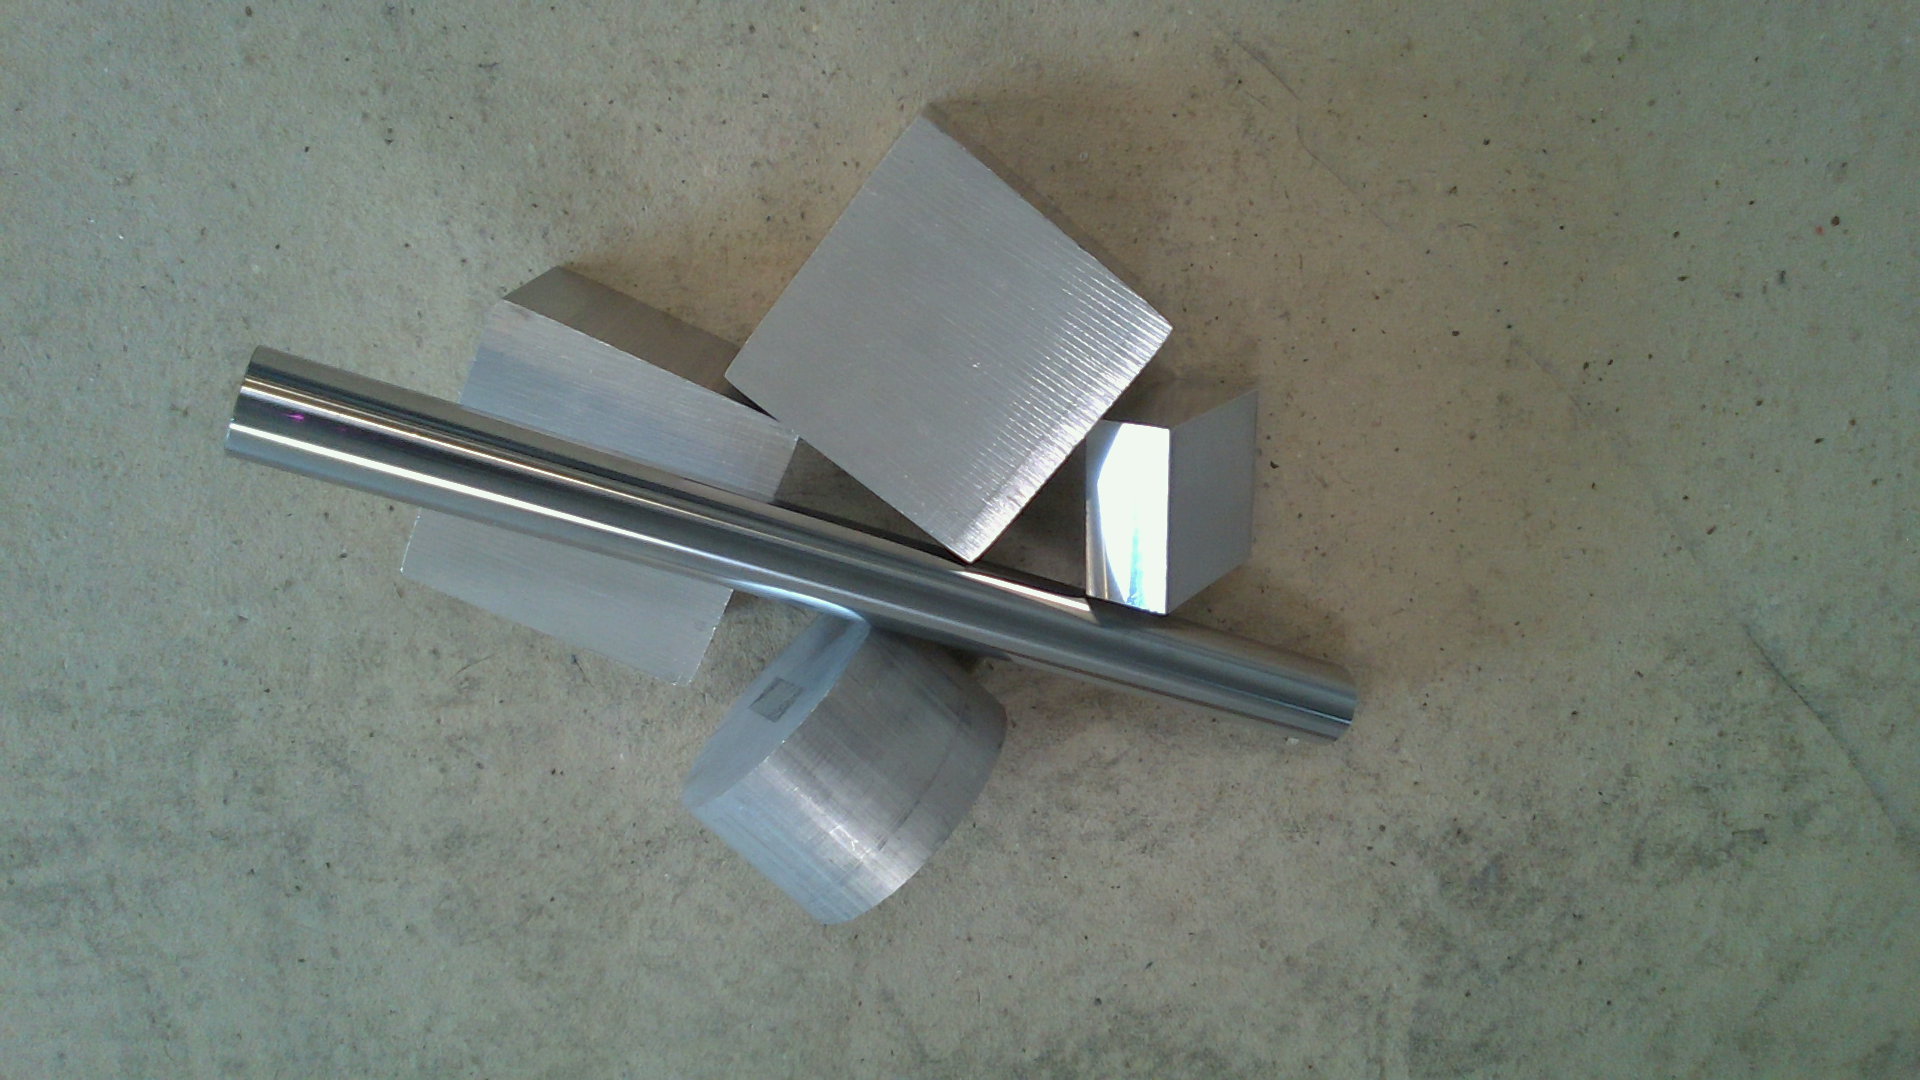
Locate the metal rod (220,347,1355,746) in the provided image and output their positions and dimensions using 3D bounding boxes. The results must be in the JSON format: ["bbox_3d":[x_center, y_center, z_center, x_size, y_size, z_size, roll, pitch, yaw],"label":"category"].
[{"bbox_3d":[-0.022,0.010,0.354,0.301,0.025,0.025,17,110,-24],"label":"metal rod"}]

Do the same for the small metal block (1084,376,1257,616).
[{"bbox_3d":[0.058,-0.013,0.374,0.025,0.050,0.050,12,115,34],"label":"small metal block"}]

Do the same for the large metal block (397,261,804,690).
[{"bbox_3d":[-0.093,-0.018,0.373,0.080,0.050,0.080,23,108,-9],"label":"large metal block"}]

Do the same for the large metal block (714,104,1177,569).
[{"bbox_3d":[-0.004,-0.054,0.358,0.080,0.050,0.080,37,106,-13],"label":"large metal block"}]

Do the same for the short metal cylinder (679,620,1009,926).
[{"bbox_3d":[-0.032,0.060,0.386,0.080,0.080,0.050,-42,105,14],"label":"short metal cylinder"}]
